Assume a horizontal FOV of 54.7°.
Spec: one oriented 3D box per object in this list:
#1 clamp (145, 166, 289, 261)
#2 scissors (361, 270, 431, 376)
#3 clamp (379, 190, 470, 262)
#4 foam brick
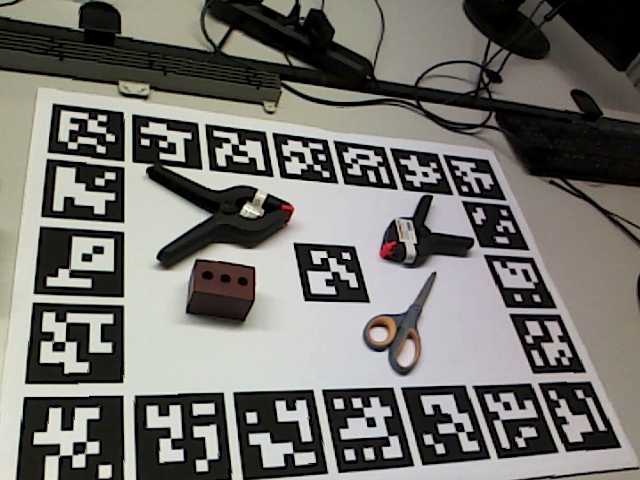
[{"bbox_3d":[-0.142,-0.039,0.891,0.202,0.036,0.166,0,51,-25],"label":"clamp"},{"bbox_3d":[0.127,0.105,0.905,0.087,0.016,0.202,39,47,-2],"label":"scissors"},{"bbox_3d":[0.160,-0.011,1.008,0.164,0.036,0.122,-24,74,-35],"label":"clamp"},{"bbox_3d":[-0.132,0.068,0.804,0.078,0.051,0.053,7,53,-13],"label":"foam brick"}]
